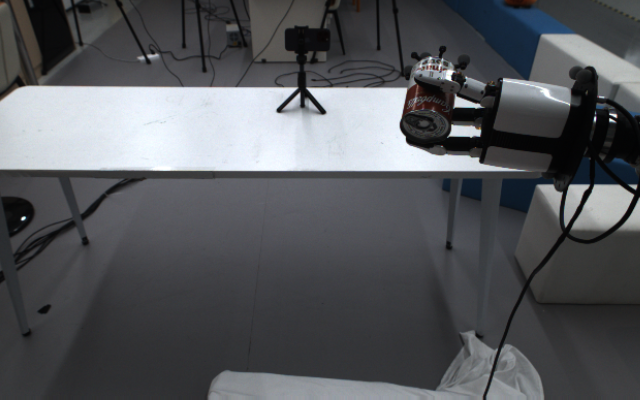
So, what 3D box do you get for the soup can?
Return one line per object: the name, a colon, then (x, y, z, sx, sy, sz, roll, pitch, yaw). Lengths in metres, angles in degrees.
soup can: (0.152, -0.140, 0.666, 0.067, 0.067, 0.101, 9, 60, 10)
